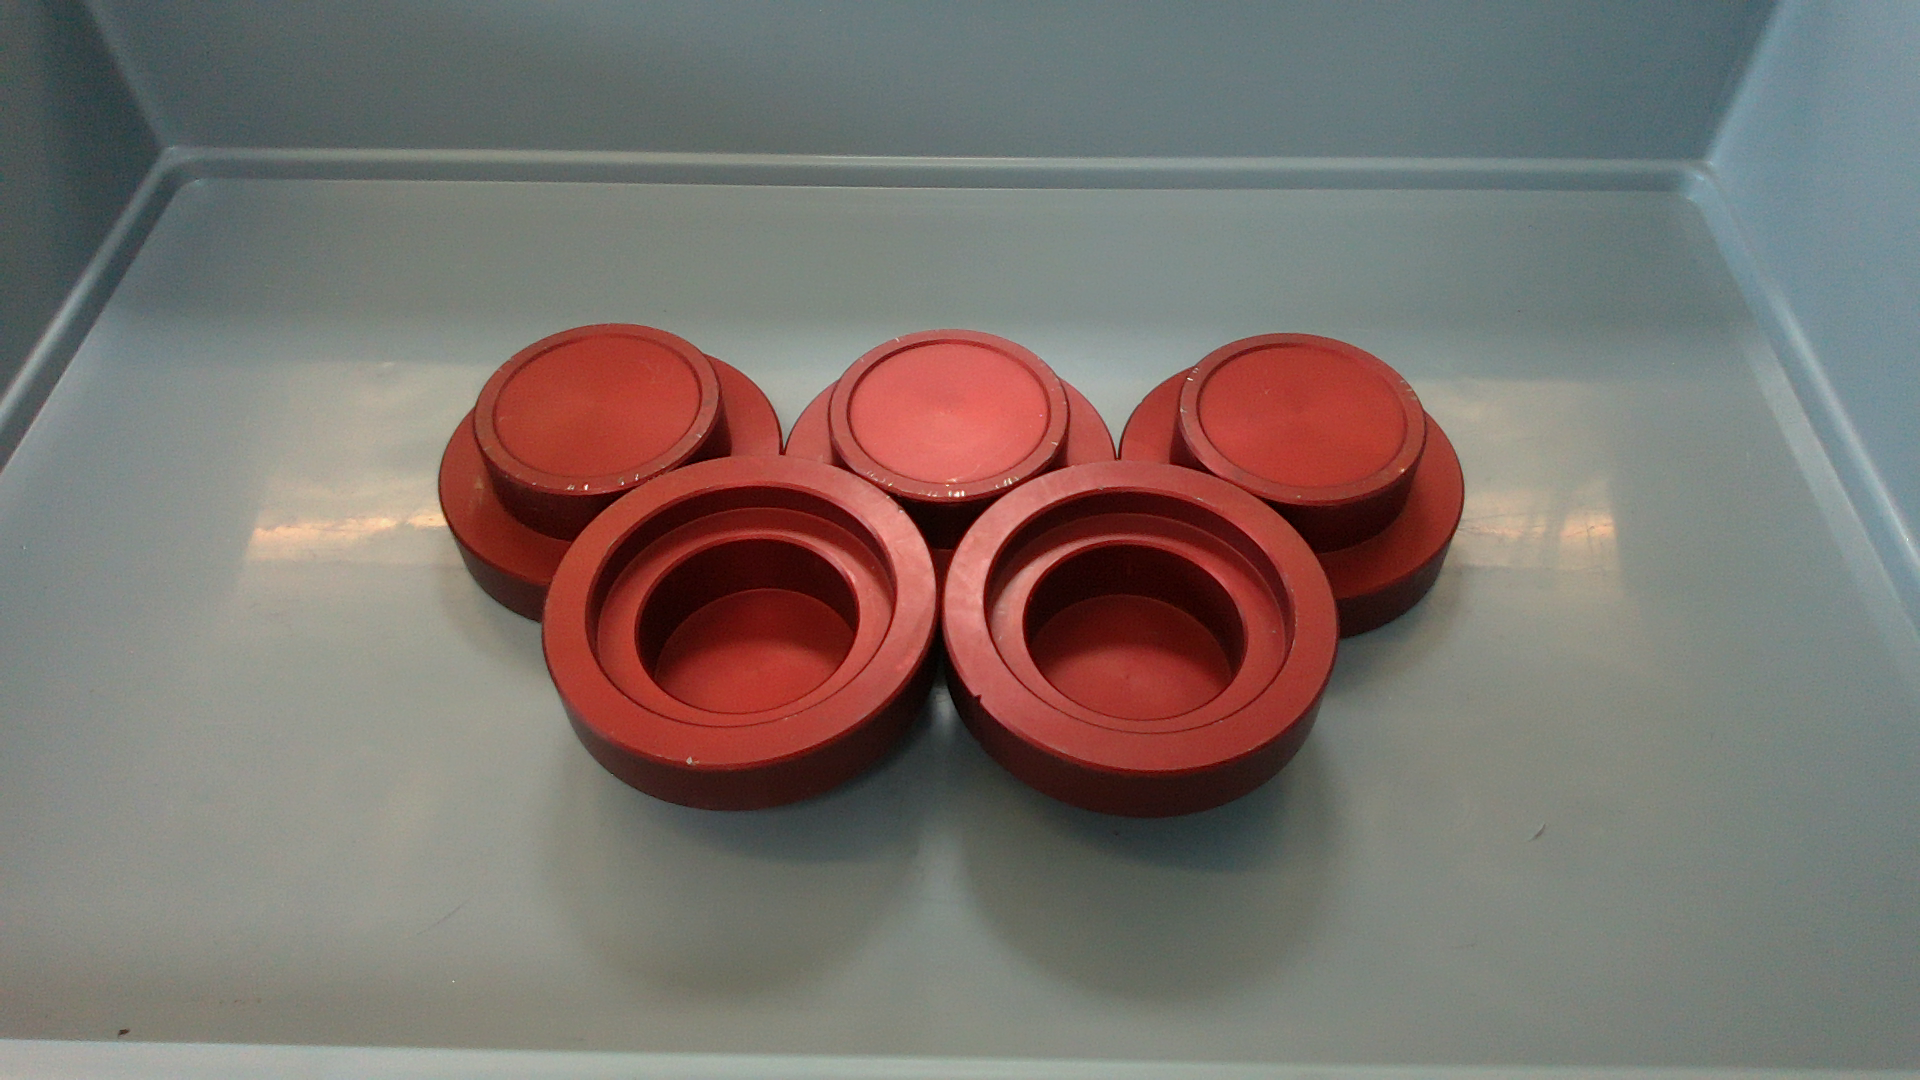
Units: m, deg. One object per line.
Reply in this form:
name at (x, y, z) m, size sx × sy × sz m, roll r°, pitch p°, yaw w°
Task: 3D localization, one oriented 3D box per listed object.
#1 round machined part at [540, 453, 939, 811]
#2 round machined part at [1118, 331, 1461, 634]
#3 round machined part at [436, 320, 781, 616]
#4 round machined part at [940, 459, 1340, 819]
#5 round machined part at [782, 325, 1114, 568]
round machined part at (-0.054, 0.027, 0.356) m, size 0.098 × 0.042 × 0.098 m, roll 0°, pitch 50°, yaw 0°
round machined part at (0.094, -0.023, 0.397) m, size 0.098 × 0.042 × 0.098 m, roll 0°, pitch 49°, yaw 1°
round machined part at (-0.102, -0.026, 0.399) m, size 0.098 × 0.042 × 0.098 m, roll 1°, pitch 49°, yaw -1°
round machined part at (0.044, 0.029, 0.355) m, size 0.098 × 0.042 × 0.098 m, roll 0°, pitch 50°, yaw 0°
round machined part at (-0.004, -0.024, 0.399) m, size 0.098 × 0.042 × 0.098 m, roll 0°, pitch 49°, yaw 1°
